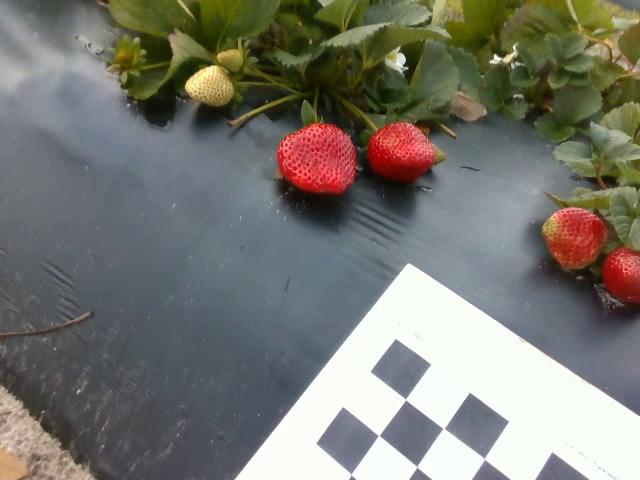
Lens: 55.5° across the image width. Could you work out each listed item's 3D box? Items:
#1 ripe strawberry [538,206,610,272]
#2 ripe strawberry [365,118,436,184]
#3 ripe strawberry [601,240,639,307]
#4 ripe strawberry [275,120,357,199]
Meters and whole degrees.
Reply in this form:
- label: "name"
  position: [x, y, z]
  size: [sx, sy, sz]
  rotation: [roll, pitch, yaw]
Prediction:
- label: "ripe strawberry"
  position: [0.160, -0.002, 0.389]
  size: [0.053, 0.047, 0.038]
  rotation: [22, -17, -17]
- label: "ripe strawberry"
  position: [0.059, -0.061, 0.431]
  size: [0.050, 0.051, 0.060]
  rotation: [-31, 15, 0]
- label: "ripe strawberry"
  position: [0.189, 0.017, 0.362]
  size: [0.043, 0.041, 0.049]
  rotation: [29, 10, 20]
- label: "ripe strawberry"
  position: [-0.001, -0.049, 0.406]
  size: [0.058, 0.065, 0.044]
  rotation: [-25, -43, 2]
